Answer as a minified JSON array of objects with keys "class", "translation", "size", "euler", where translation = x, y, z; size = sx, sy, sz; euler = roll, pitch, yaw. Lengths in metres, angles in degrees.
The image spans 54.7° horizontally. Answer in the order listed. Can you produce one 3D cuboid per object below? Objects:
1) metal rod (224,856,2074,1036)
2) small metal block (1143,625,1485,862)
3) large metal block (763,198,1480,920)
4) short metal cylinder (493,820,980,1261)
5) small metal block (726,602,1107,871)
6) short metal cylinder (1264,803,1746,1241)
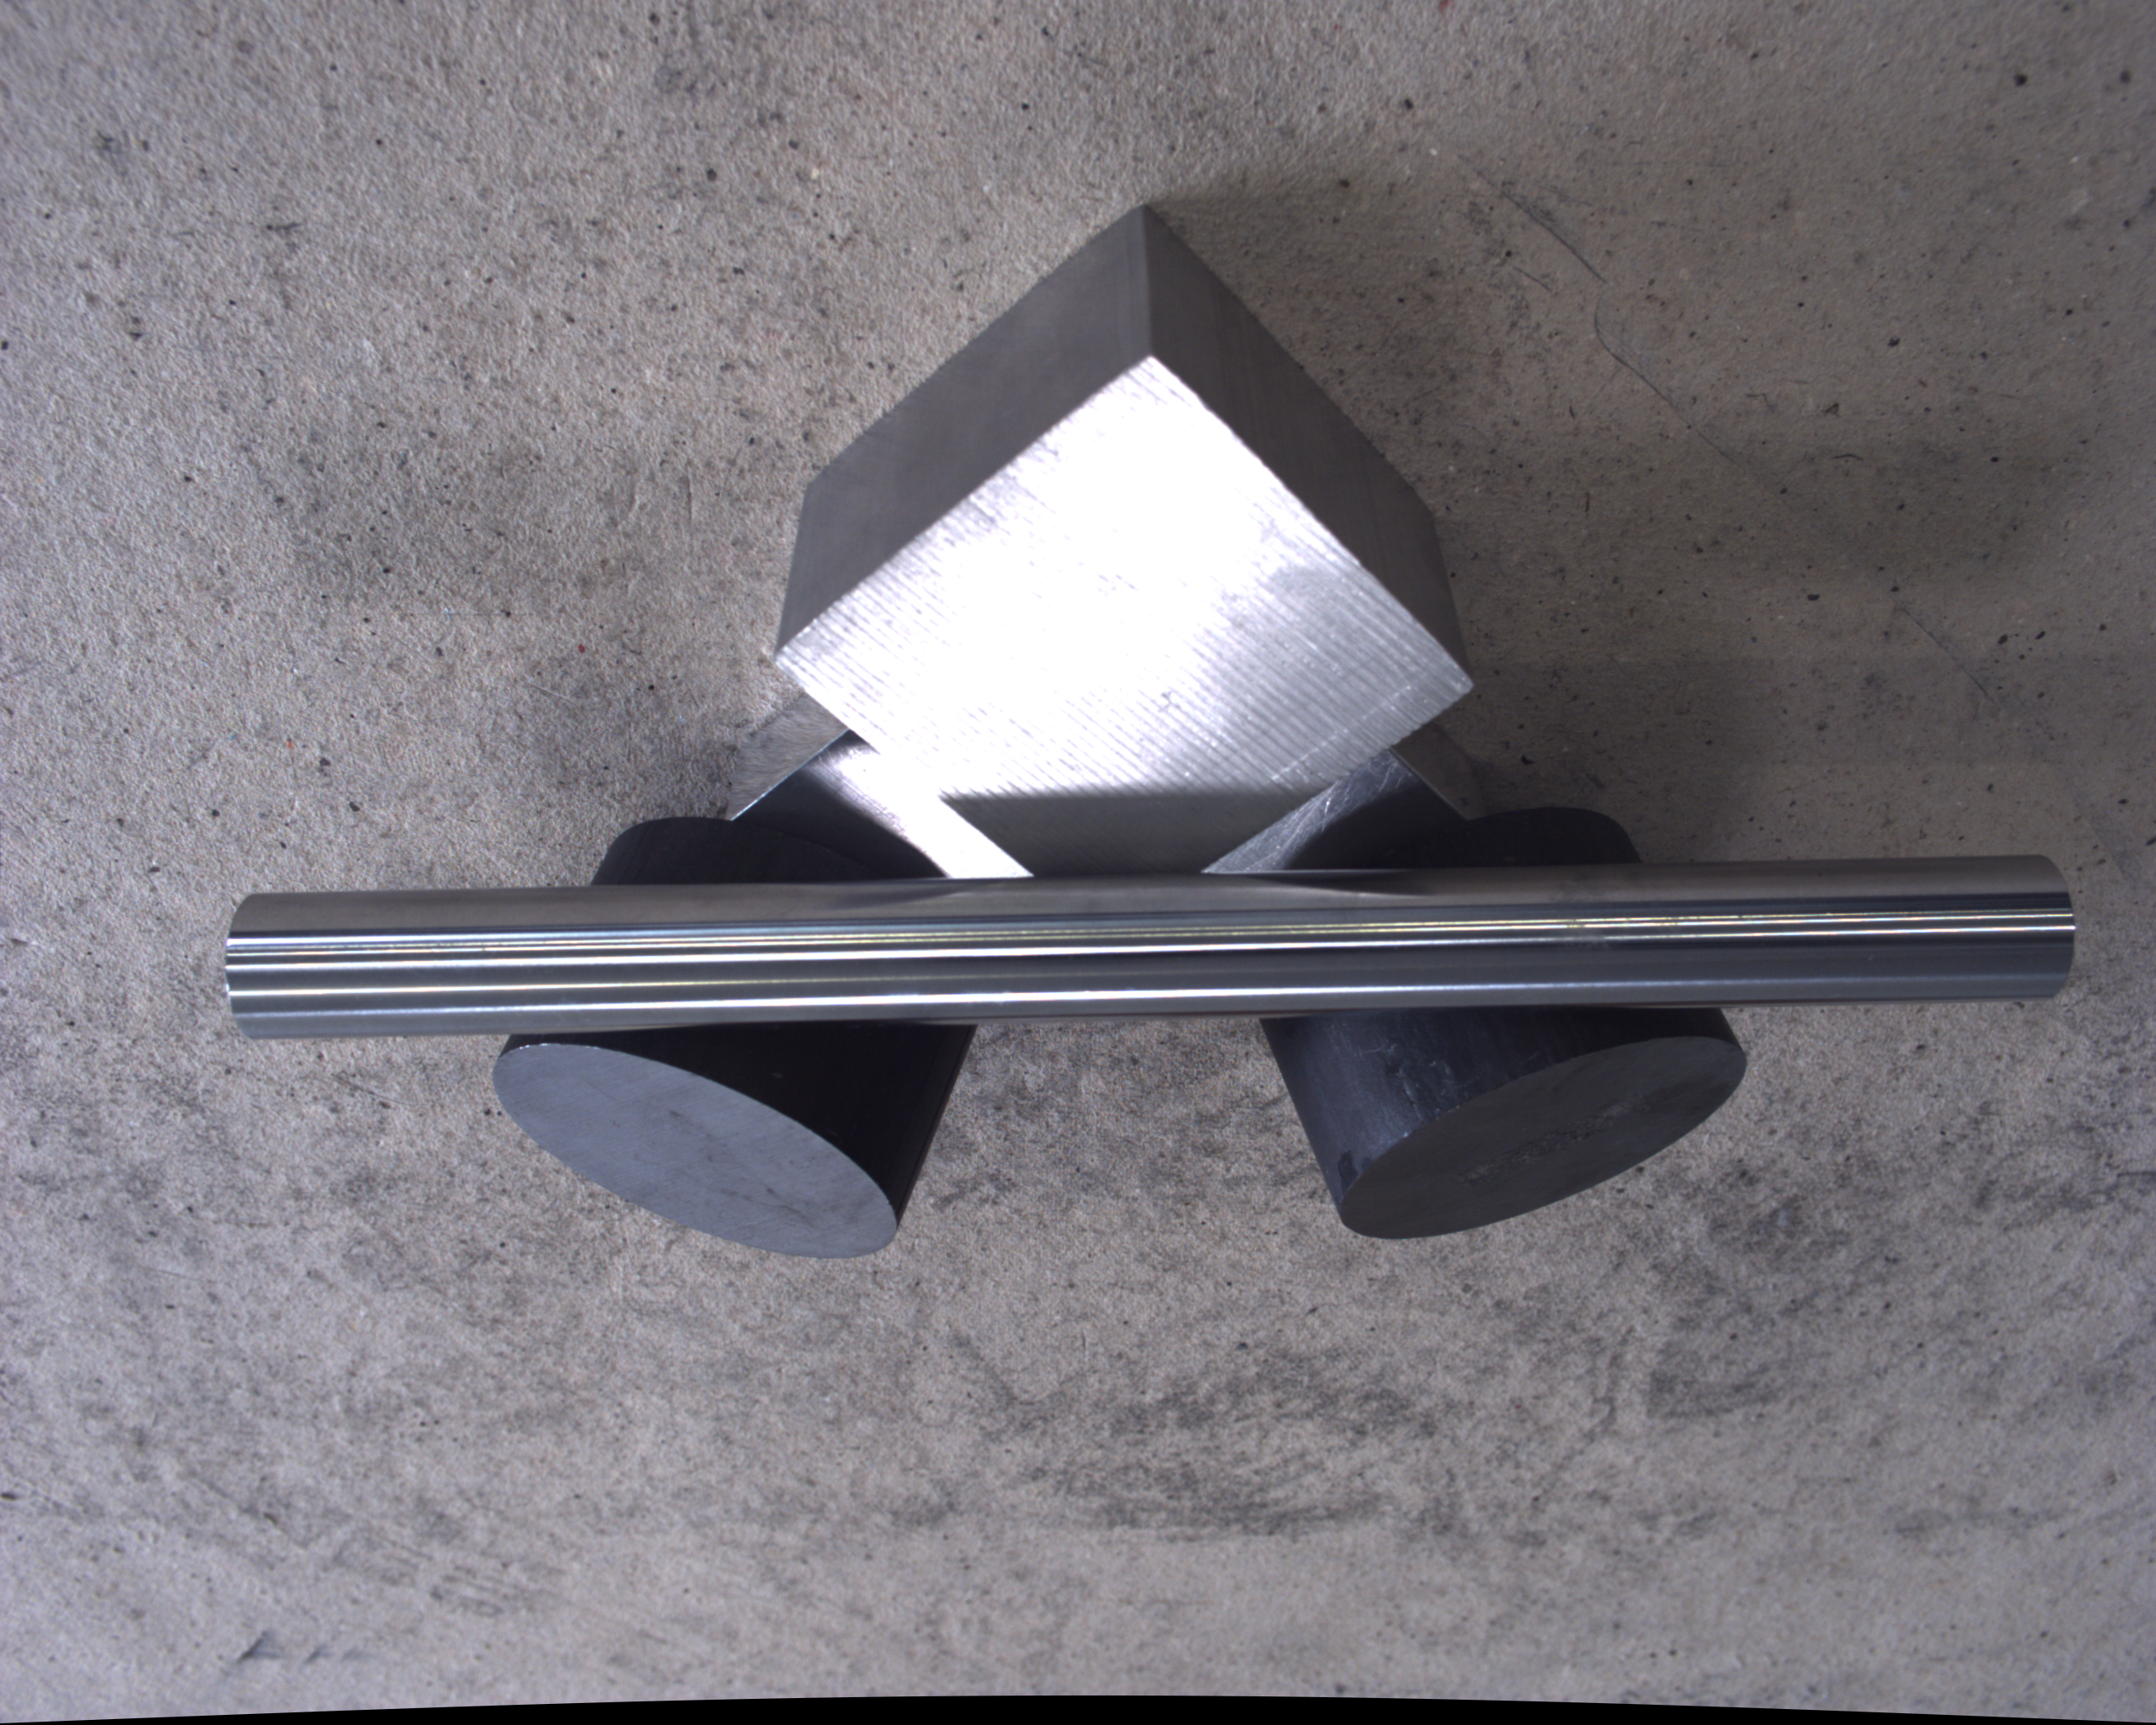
[{"class":"metal rod","translation":[0.011,0.014,0.353],"size":[0.302,0.025,0.025],"euler":[-1,130,0]},{"class":"small metal block","translation":[0.043,-0.012,0.398],"size":[0.050,0.025,0.050],"euler":[-36,122,26]},{"class":"large metal block","translation":[0.007,-0.047,0.350],"size":[0.080,0.050,0.080],"euler":[-35,122,25]},{"class":"short metal cylinder","translation":[-0.064,0.036,0.403],"size":[0.080,0.050,0.080],"euler":[15,149,10]},{"class":"small metal block","translation":[-0.030,-0.014,0.397],"size":[0.050,0.025,0.050],"euler":[-36,122,25]},{"class":"short metal cylinder","translation":[0.079,0.032,0.402],"size":[0.081,0.050,0.080],"euler":[-15,150,-9]}]
